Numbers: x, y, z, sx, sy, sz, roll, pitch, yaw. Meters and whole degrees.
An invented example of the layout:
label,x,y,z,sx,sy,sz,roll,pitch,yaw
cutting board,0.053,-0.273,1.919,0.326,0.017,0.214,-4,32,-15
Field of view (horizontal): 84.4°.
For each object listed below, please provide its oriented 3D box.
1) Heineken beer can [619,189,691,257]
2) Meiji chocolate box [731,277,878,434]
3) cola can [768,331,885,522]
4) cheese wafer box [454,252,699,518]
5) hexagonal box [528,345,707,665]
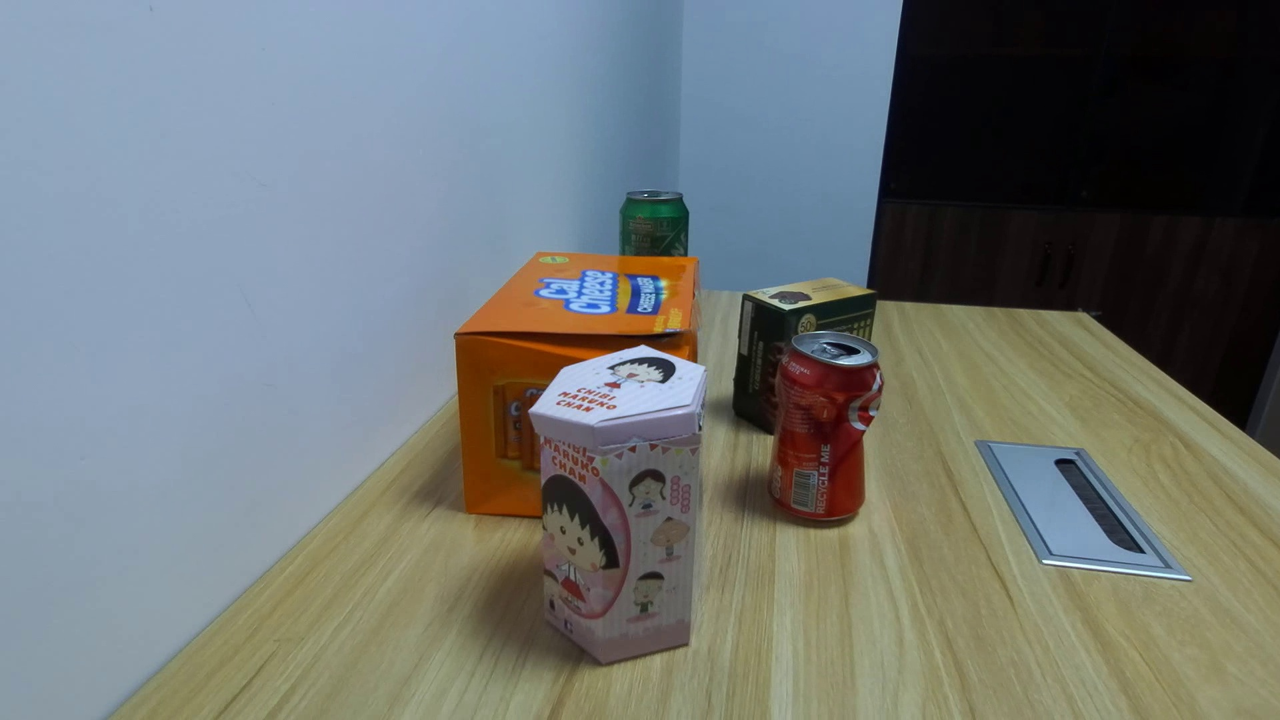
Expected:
label,x,y,z,sx,sy,sz,roll,pitch,yaw
Heineken beer can,0.014,-0.071,0.684,0.067,0.169,0.067,0,11,0
Meiji chocolate box,0.139,-0.006,0.597,0.110,0.109,0.056,-12,25,-31
cola can,0.119,0.042,0.460,0.066,0.117,0.066,-1,23,-6
cheese wafer box,-0.031,0.005,0.536,0.149,0.137,0.227,4,21,5
hexagonal box,-0.006,0.071,0.360,0.091,0.135,0.085,21,29,40
